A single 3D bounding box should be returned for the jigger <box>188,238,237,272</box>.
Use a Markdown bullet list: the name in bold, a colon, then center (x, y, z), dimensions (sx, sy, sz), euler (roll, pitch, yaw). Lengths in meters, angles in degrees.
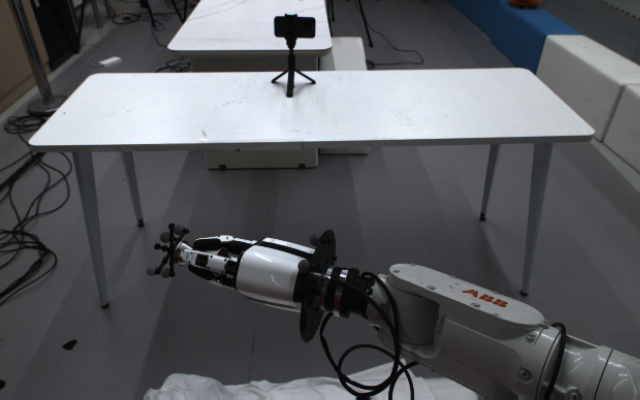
- **jigger**: center (-0.172, 0.083, 0.722), dimensions (0.071, 0.043, 0.043), euler (10, 35, 16)
